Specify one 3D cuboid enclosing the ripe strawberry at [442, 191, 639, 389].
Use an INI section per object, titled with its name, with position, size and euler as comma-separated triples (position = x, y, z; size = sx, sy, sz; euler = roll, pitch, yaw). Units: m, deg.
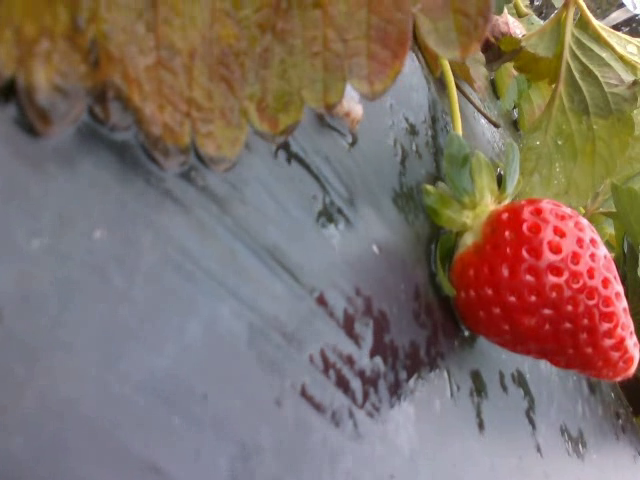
[ripe strawberry]
position = 0.057, 0.014, 0.158
size = 0.045, 0.054, 0.048
euler = 1, -42, -40
